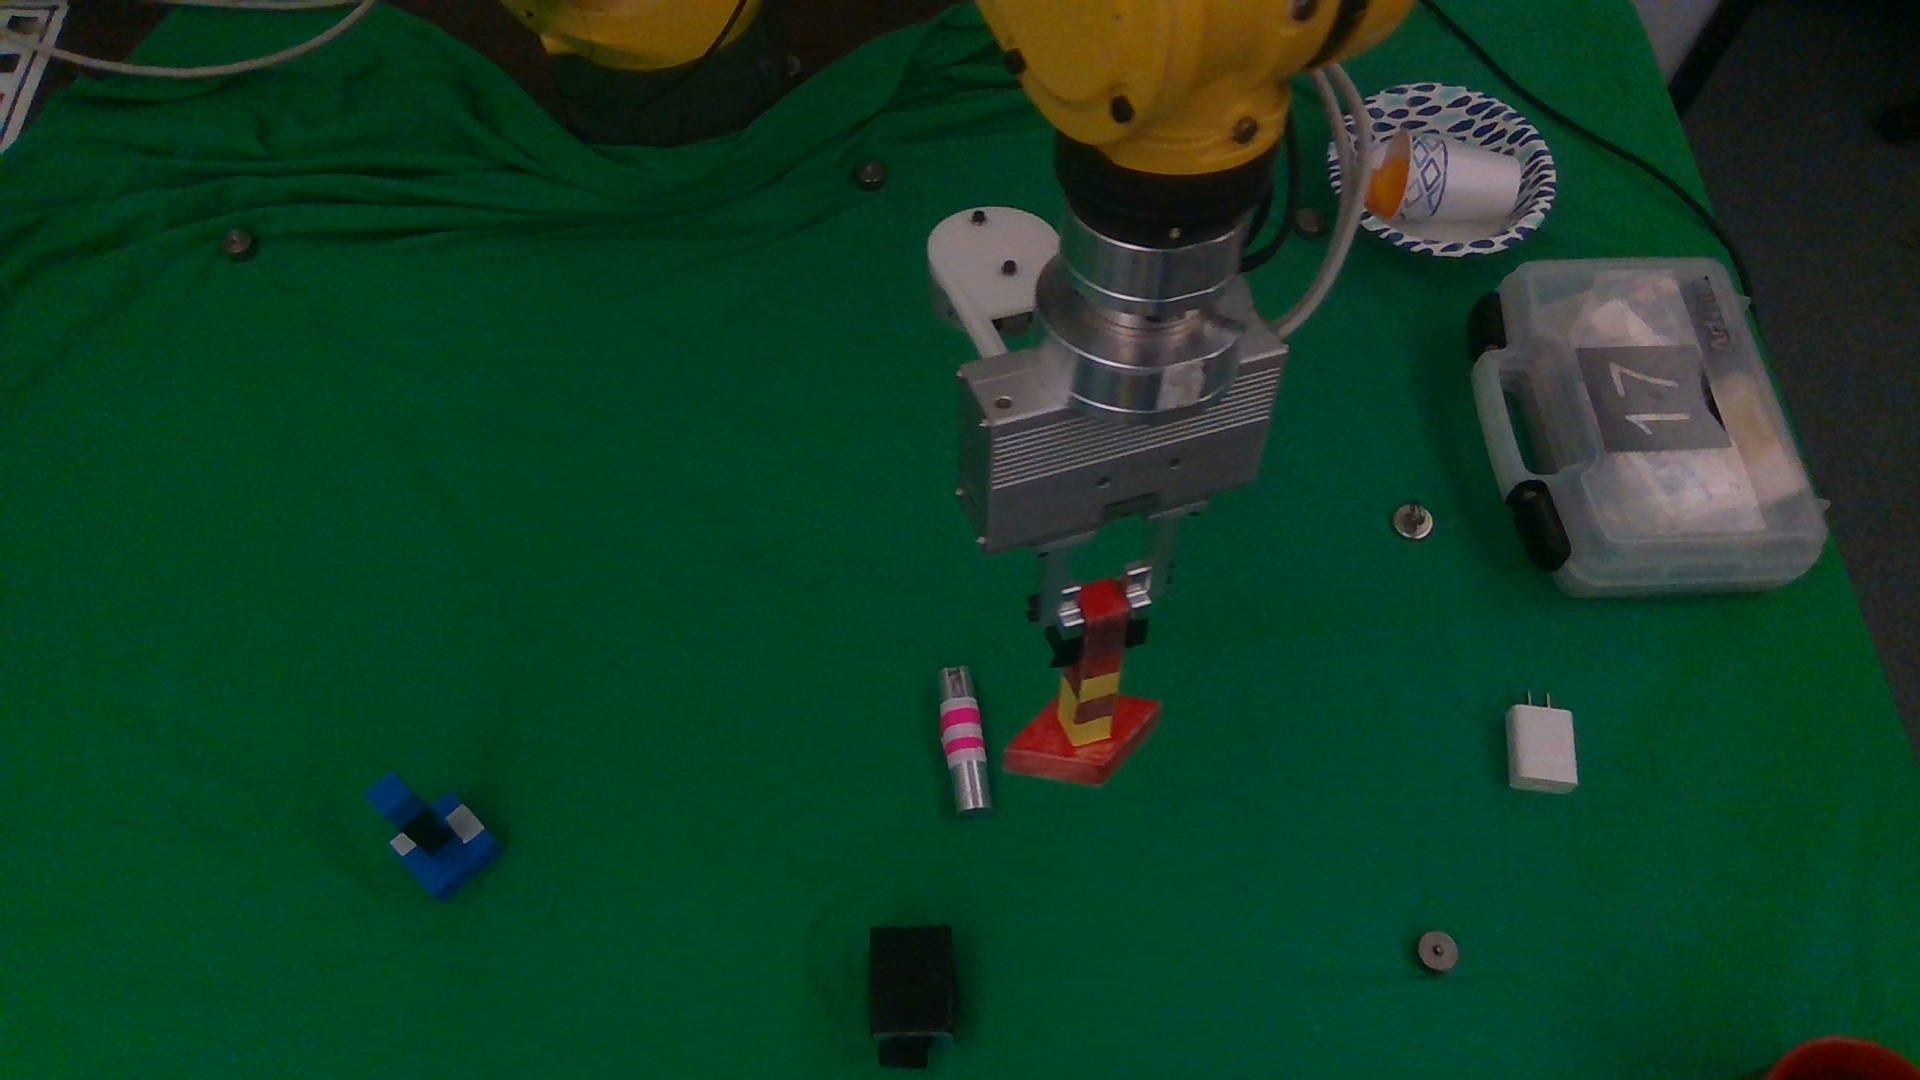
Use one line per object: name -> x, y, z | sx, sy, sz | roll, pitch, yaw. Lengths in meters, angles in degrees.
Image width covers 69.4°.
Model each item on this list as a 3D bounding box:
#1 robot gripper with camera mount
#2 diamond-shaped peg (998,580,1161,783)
robot gripper with camera mount -> 0.027, -0.058, 0.624 | 0.119, 0.158, 0.194 | -19, 49, -15
diamond-shaped peg -> 0.060, 0.065, 0.654 | 0.045, 0.122, 0.074 | 37, 59, 27
